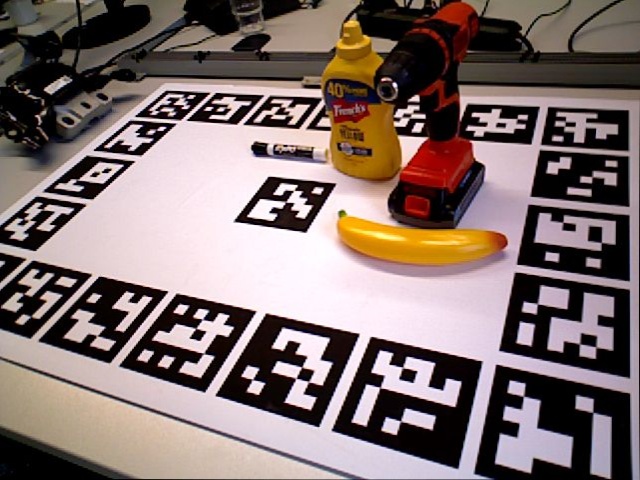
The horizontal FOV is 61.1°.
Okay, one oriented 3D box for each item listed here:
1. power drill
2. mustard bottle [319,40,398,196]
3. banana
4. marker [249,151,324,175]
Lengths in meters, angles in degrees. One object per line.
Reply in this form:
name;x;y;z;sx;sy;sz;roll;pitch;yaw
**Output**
power drill;0.111;-0.100;0.575;0.057;0.191;0.180;25;51;31
mustard bottle;0.046;-0.148;0.669;0.096;0.195;0.057;22;51;30
banana;0.080;0.027;0.591;0.198;0.039;0.072;17;51;31
marker;-0.051;-0.113;0.786;0.122;0.020;0.019;13;48;26
